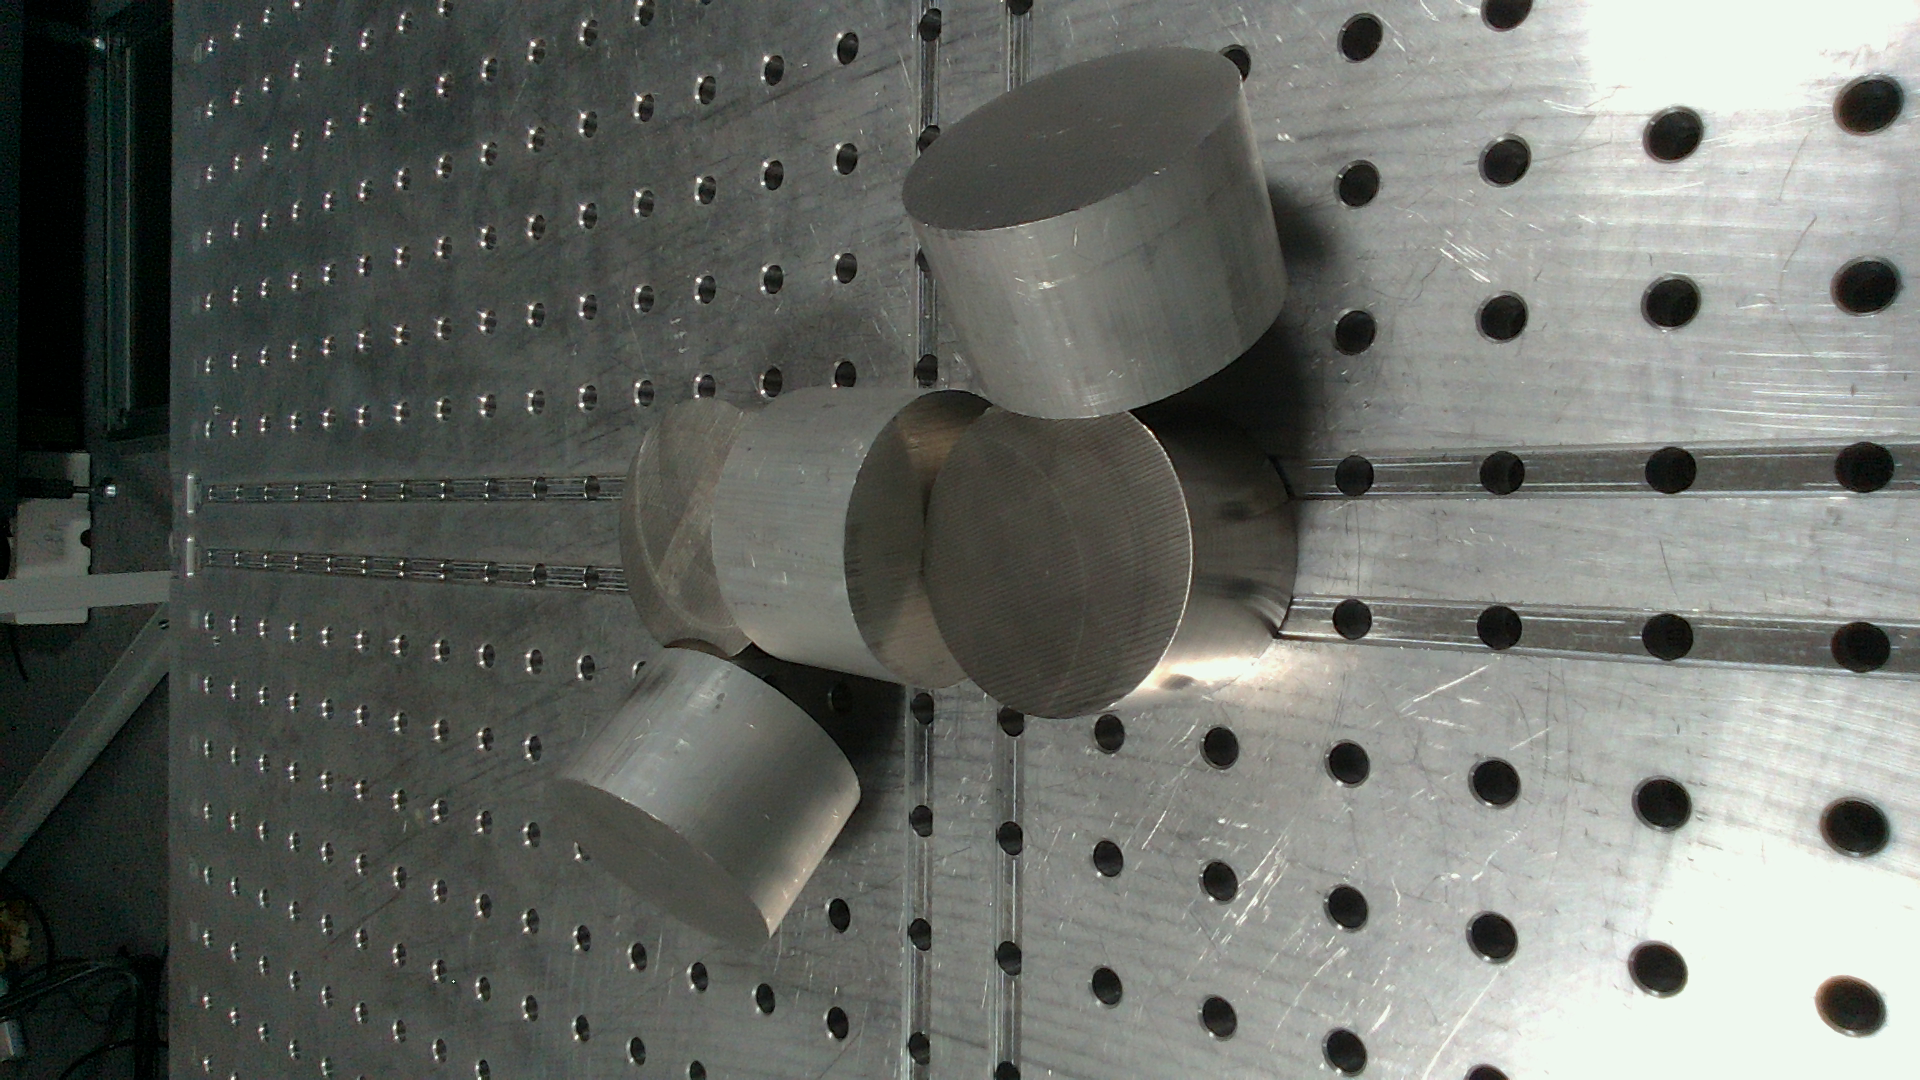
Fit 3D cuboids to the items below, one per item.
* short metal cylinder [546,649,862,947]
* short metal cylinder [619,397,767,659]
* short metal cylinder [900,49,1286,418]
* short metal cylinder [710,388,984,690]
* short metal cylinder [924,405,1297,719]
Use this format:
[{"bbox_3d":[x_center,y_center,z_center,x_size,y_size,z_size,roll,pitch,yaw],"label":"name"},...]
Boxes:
[{"bbox_3d":[-0.077,0.079,0.420,0.080,0.050,0.080,23,146,17],"label":"short metal cylinder"},{"bbox_3d":[-0.062,-0.003,0.433,0.080,0.050,0.080,0,90,40],"label":"short metal cylinder"},{"bbox_3d":[0.032,-0.073,0.326,0.080,0.080,0.050,11,139,40],"label":"short metal cylinder"},{"bbox_3d":[-0.022,-0.002,0.380,0.050,0.080,0.080,6,94,40],"label":"short metal cylinder"},{"bbox_3d":[0.037,0.003,0.349,0.080,0.050,0.080,0,90,40],"label":"short metal cylinder"}]
